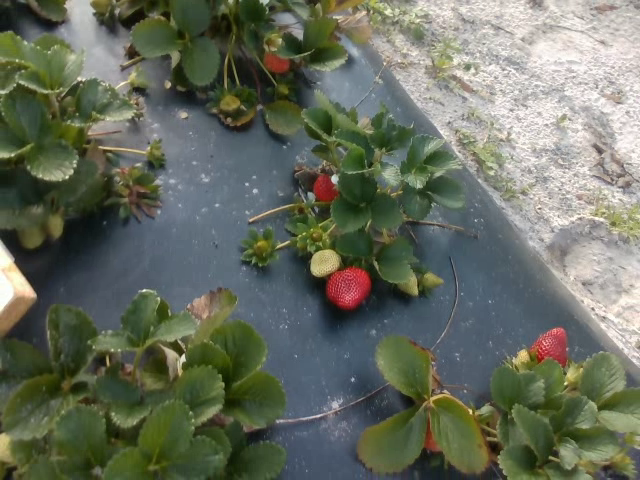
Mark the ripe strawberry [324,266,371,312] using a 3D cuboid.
[{"bbox_3d":[0.026,0.054,0.646,0.051,0.048,0.055,-15,19,17],"label":"ripe strawberry"}]
